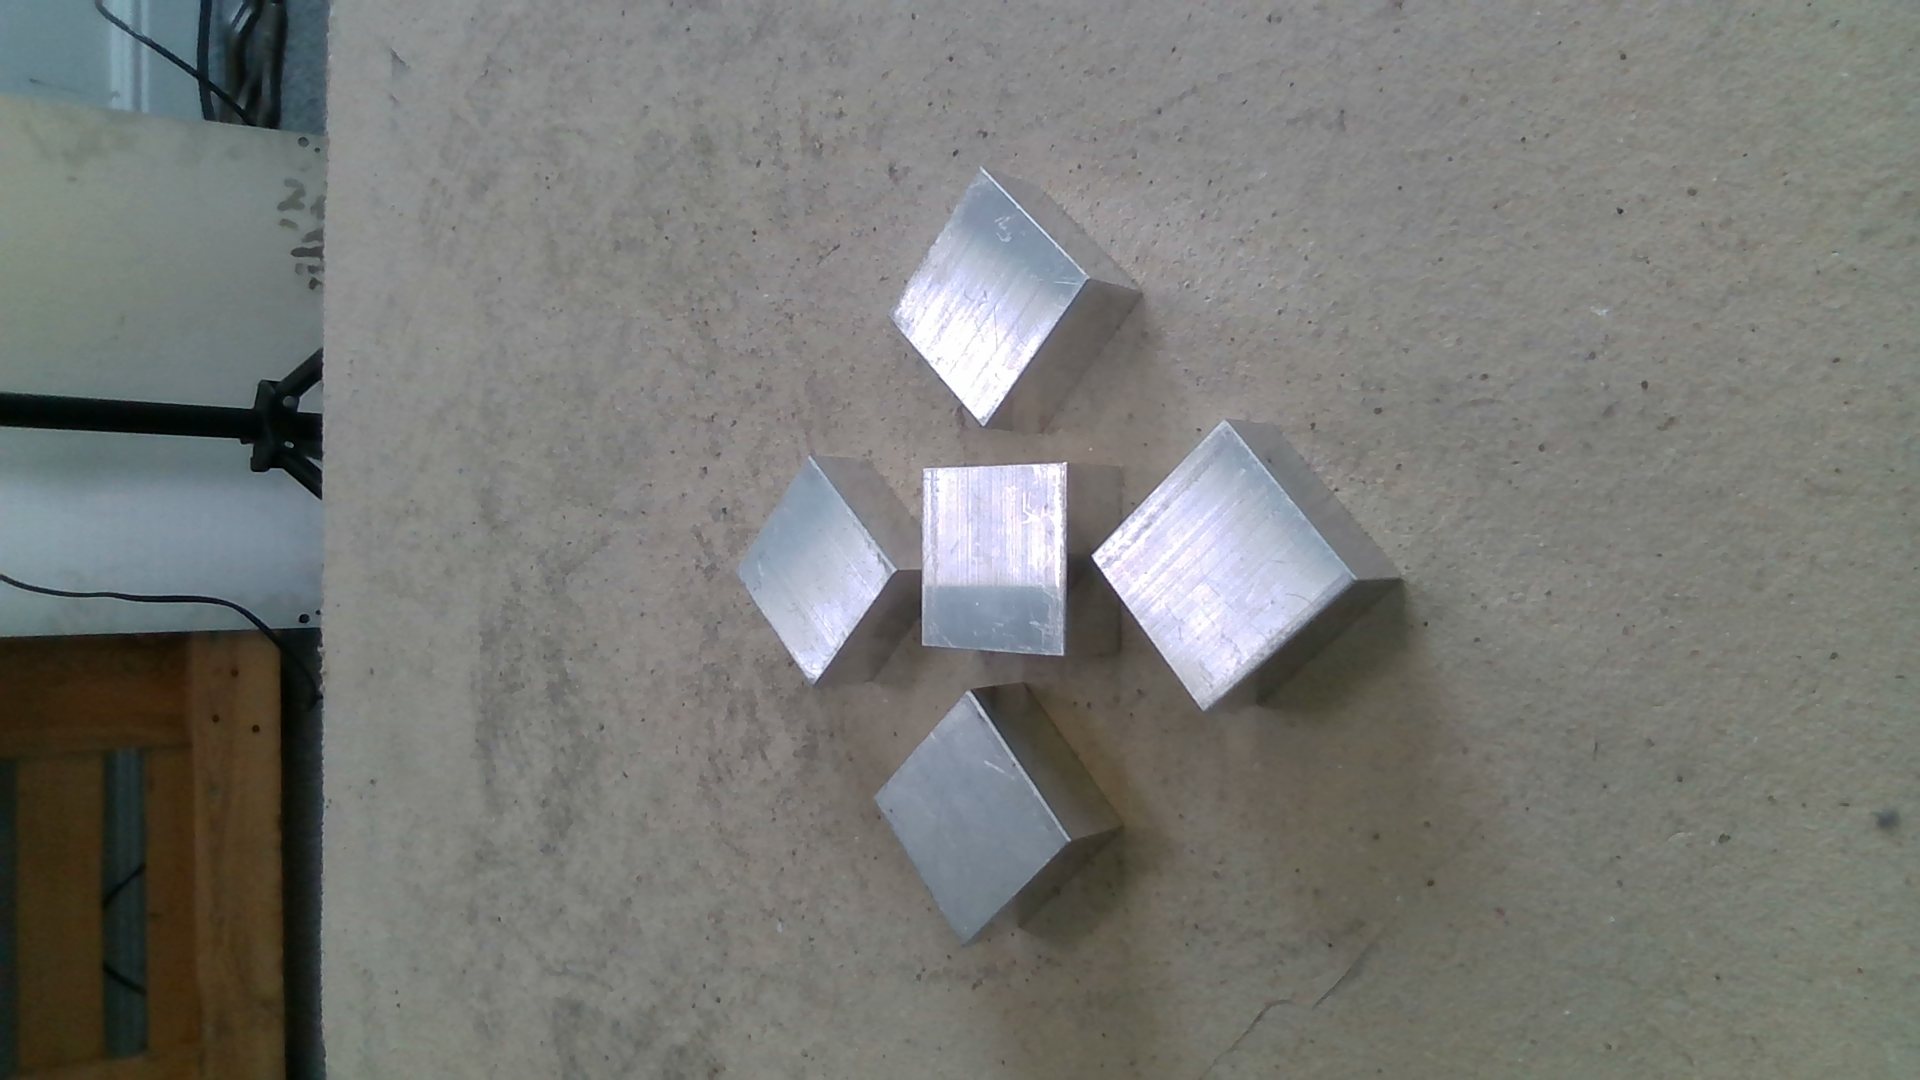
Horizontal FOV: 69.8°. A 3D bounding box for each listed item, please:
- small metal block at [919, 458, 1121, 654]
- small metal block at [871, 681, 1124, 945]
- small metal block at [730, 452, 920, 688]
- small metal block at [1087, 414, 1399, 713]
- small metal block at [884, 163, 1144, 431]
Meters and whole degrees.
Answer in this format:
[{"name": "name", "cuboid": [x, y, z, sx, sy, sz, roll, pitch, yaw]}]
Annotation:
[{"name": "small metal block", "cuboid": [0.016, 0.004, 0.377, 0.050, 0.025, 0.050, 0, 90, 40]}, {"name": "small metal block", "cuboid": [0.009, 0.075, 0.384, 0.050, 0.025, 0.050, -51, 60, 28]}, {"name": "small metal block", "cuboid": [-0.038, 0.009, 0.423, 0.050, 0.025, 0.050, 51, 121, 27]}, {"name": "small metal block", "cuboid": [0.067, 0.006, 0.333, 0.050, 0.025, 0.050, -48, 62, 29]}, {"name": "small metal block", "cuboid": [0.014, -0.066, 0.379, 0.050, 0.025, 0.050, 50, 120, 27]}]
